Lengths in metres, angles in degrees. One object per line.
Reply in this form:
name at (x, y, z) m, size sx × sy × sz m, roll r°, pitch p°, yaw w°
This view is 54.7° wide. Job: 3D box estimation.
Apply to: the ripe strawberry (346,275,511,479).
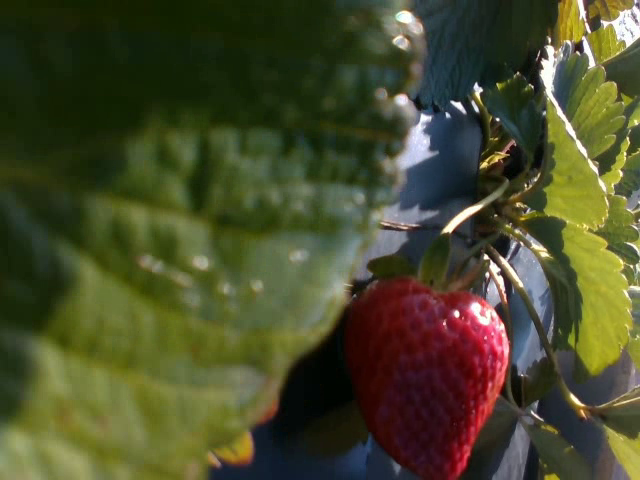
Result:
ripe strawberry at (0.023, 0.029, 0.141) m, size 0.044 × 0.056 × 0.042 m, roll 6°, pitch -27°, yaw -4°
